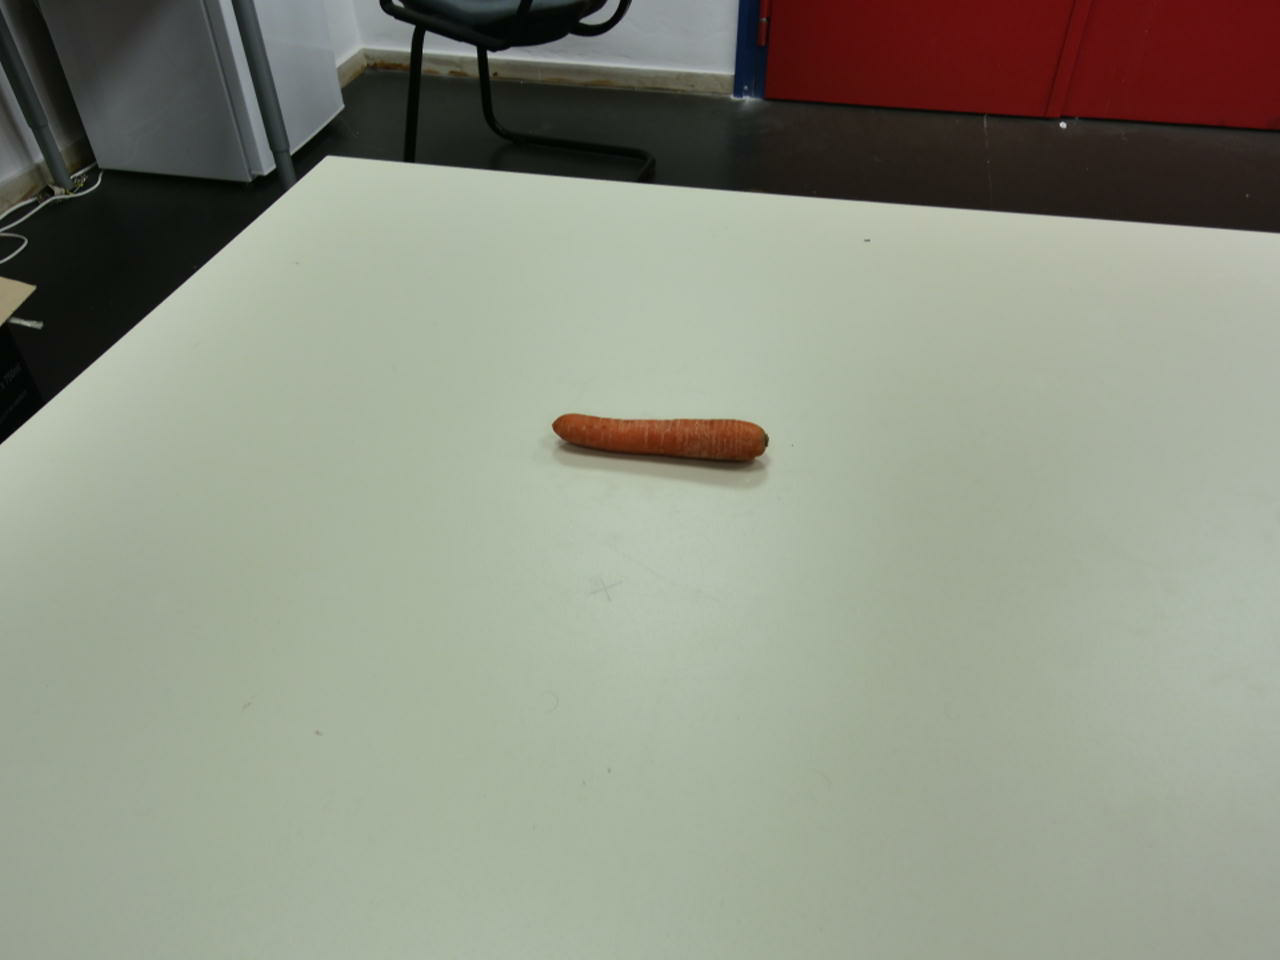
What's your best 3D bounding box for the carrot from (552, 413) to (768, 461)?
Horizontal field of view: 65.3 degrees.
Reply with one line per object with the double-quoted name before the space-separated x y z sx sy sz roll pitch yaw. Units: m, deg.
"carrot" 0.011 -0.026 0.562 0.122 0.023 0.024 6 39 8
